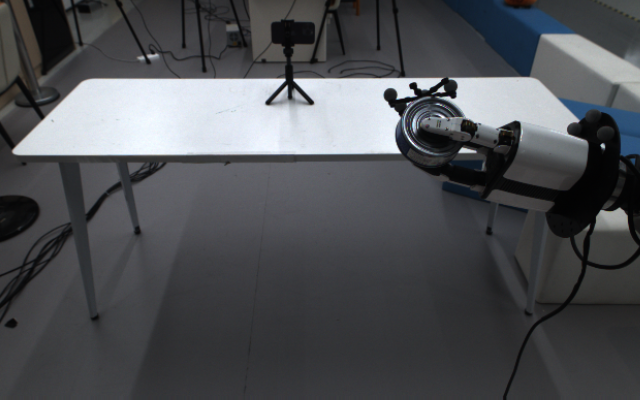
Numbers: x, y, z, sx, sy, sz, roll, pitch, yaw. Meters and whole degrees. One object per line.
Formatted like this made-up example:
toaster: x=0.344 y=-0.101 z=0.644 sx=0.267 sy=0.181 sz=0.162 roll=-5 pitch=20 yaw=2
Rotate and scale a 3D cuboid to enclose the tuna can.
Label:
tuna can: x=0.142 y=-0.089 z=0.608 sx=0.085 sy=0.034 sz=0.085 roll=0 pitch=72 yaw=-1
